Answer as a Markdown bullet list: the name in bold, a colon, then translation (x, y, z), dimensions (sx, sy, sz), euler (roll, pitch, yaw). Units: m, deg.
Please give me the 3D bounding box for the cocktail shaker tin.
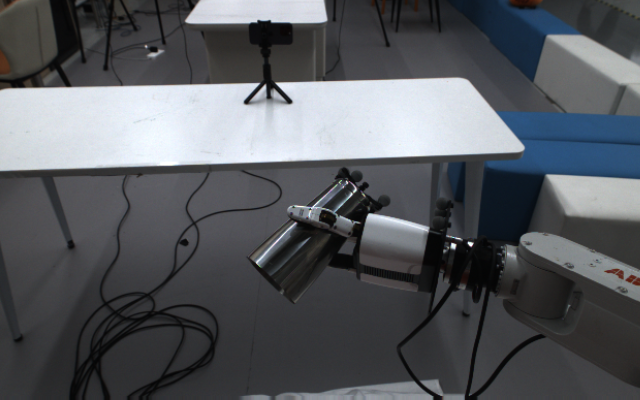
- **cocktail shaker tin**: translation (-0.009, 0.046, 0.672), dimensions (0.170, 0.093, 0.093), euler (-43, 50, -14)
